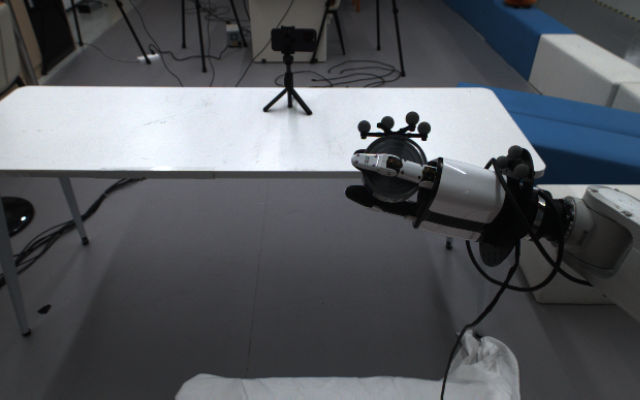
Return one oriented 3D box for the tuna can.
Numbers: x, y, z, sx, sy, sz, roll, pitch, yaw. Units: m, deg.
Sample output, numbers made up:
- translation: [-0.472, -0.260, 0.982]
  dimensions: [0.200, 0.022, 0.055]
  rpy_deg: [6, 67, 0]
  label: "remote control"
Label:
- translation: [0.097, -0.041, 0.638]
  dimensions: [0.085, 0.034, 0.085]
  rpy_deg: [-1, 76, 4]
  label: "tuna can"
